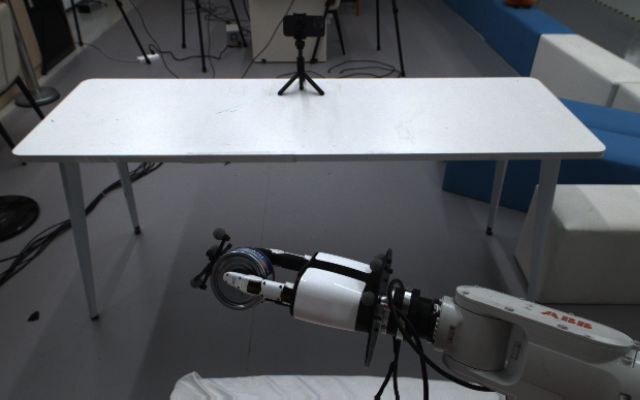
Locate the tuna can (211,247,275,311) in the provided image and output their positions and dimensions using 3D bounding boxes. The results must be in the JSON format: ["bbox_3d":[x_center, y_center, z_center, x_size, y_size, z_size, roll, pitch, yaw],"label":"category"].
[{"bbox_3d":[-0.106,0.113,0.677,0.085,0.085,0.034,9,6,9],"label":"tuna can"}]
